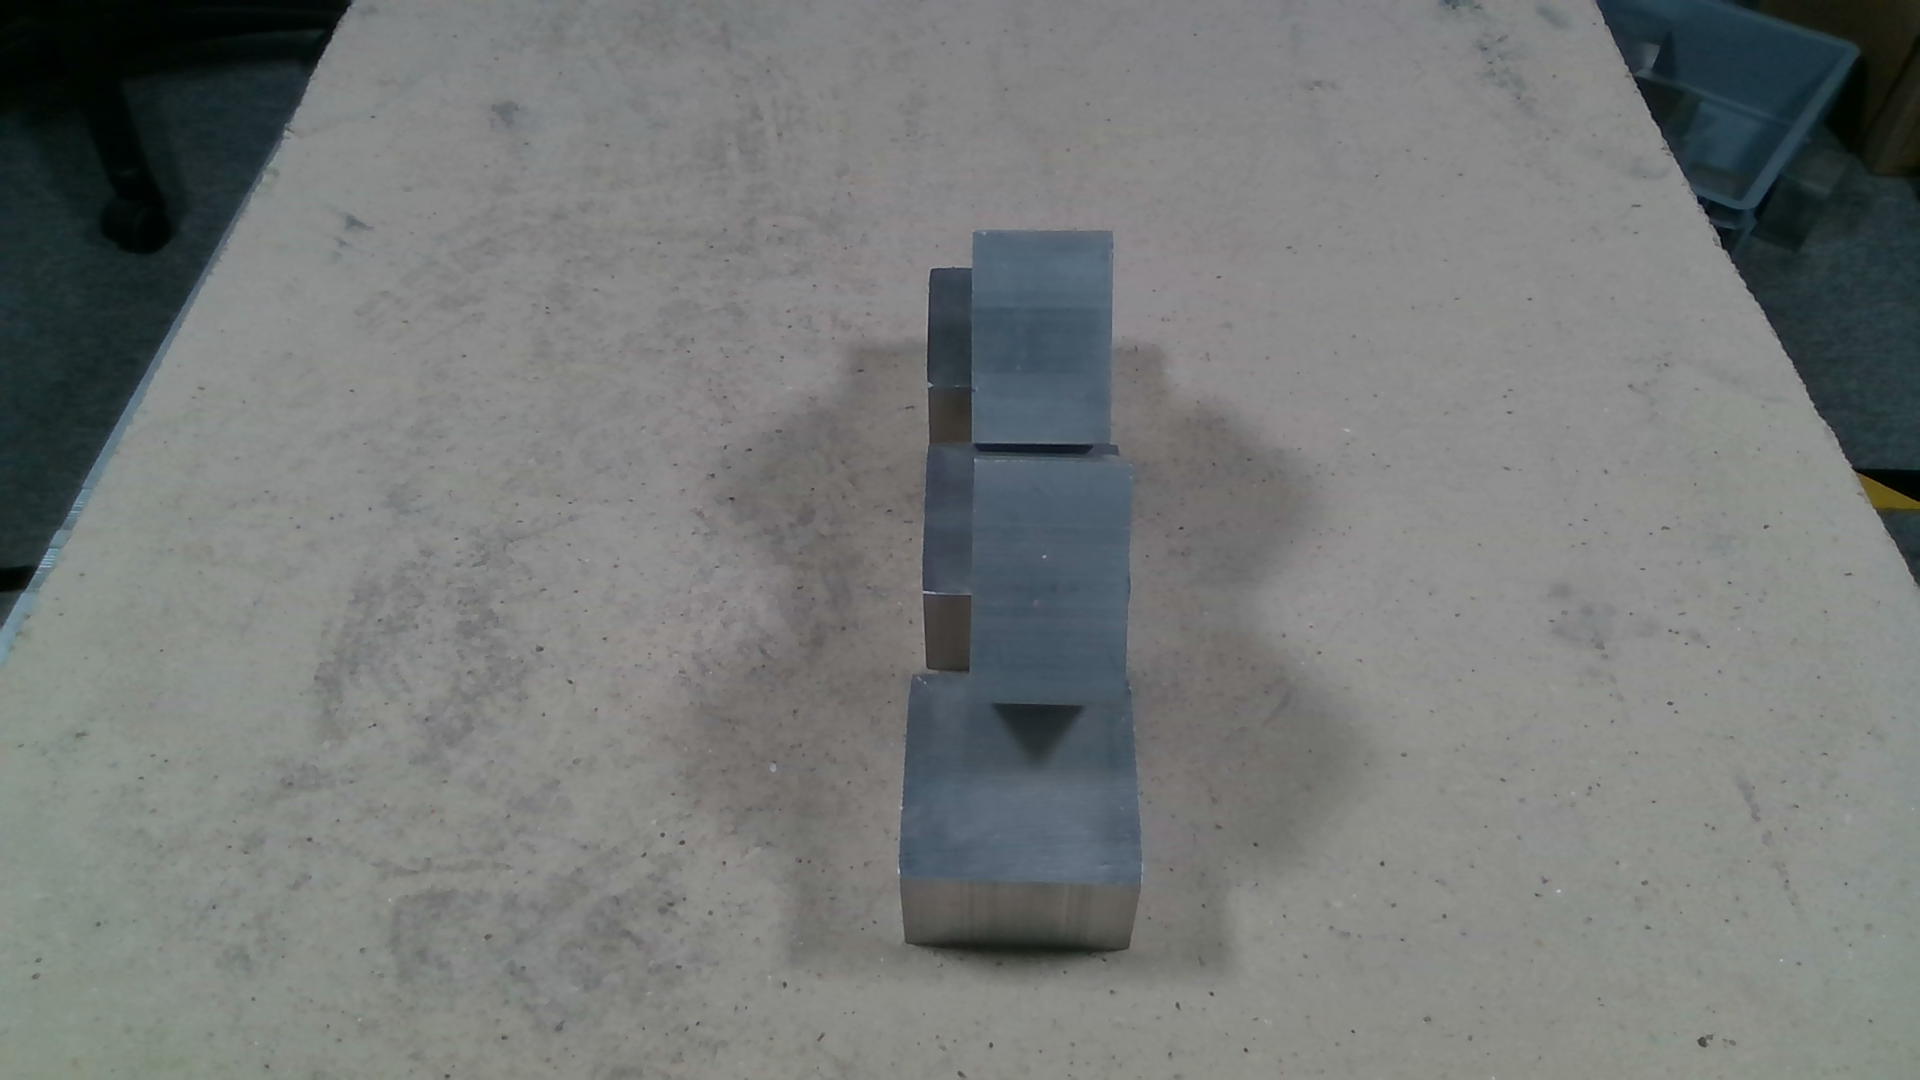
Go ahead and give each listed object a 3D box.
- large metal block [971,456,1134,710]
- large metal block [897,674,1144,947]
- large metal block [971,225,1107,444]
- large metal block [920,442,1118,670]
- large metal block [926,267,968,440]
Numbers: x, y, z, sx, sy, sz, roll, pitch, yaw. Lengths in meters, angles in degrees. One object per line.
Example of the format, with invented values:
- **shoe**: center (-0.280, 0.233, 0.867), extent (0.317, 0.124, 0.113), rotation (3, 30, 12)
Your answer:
- **large metal block**: center (0.030, 0.011, 0.480), extent (0.050, 0.080, 0.080), rotation (1, 5, 0)
- **large metal block**: center (0.020, 0.096, 0.491), extent (0.080, 0.050, 0.080), rotation (1, 50, 1)
- **large metal block**: center (0.030, -0.080, 0.553), extent (0.050, 0.080, 0.080), rotation (-1, 95, 0)
- **large metal block**: center (0.025, 0.006, 0.566), extent (0.080, 0.050, 0.080), rotation (0, 50, 0)
- **large metal block**: center (0.025, -0.082, 0.639), extent (0.080, 0.050, 0.080), rotation (0, 50, 0)
